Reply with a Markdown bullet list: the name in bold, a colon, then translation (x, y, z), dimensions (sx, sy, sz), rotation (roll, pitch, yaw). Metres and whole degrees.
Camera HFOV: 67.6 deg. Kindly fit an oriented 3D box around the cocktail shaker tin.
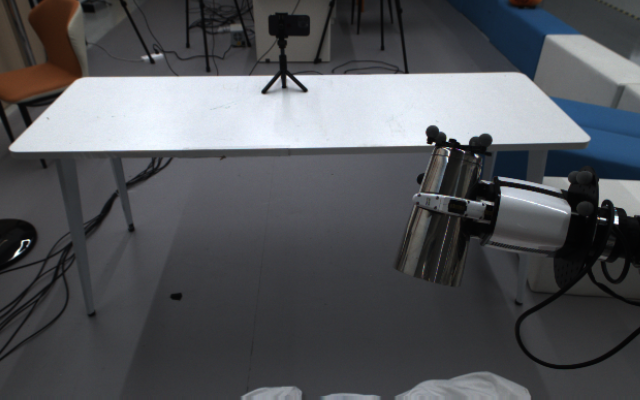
- **cocktail shaker tin**: translation (0.163, 0.019, 0.647), dimensions (0.093, 0.170, 0.093), rotation (14, 2, 0)
